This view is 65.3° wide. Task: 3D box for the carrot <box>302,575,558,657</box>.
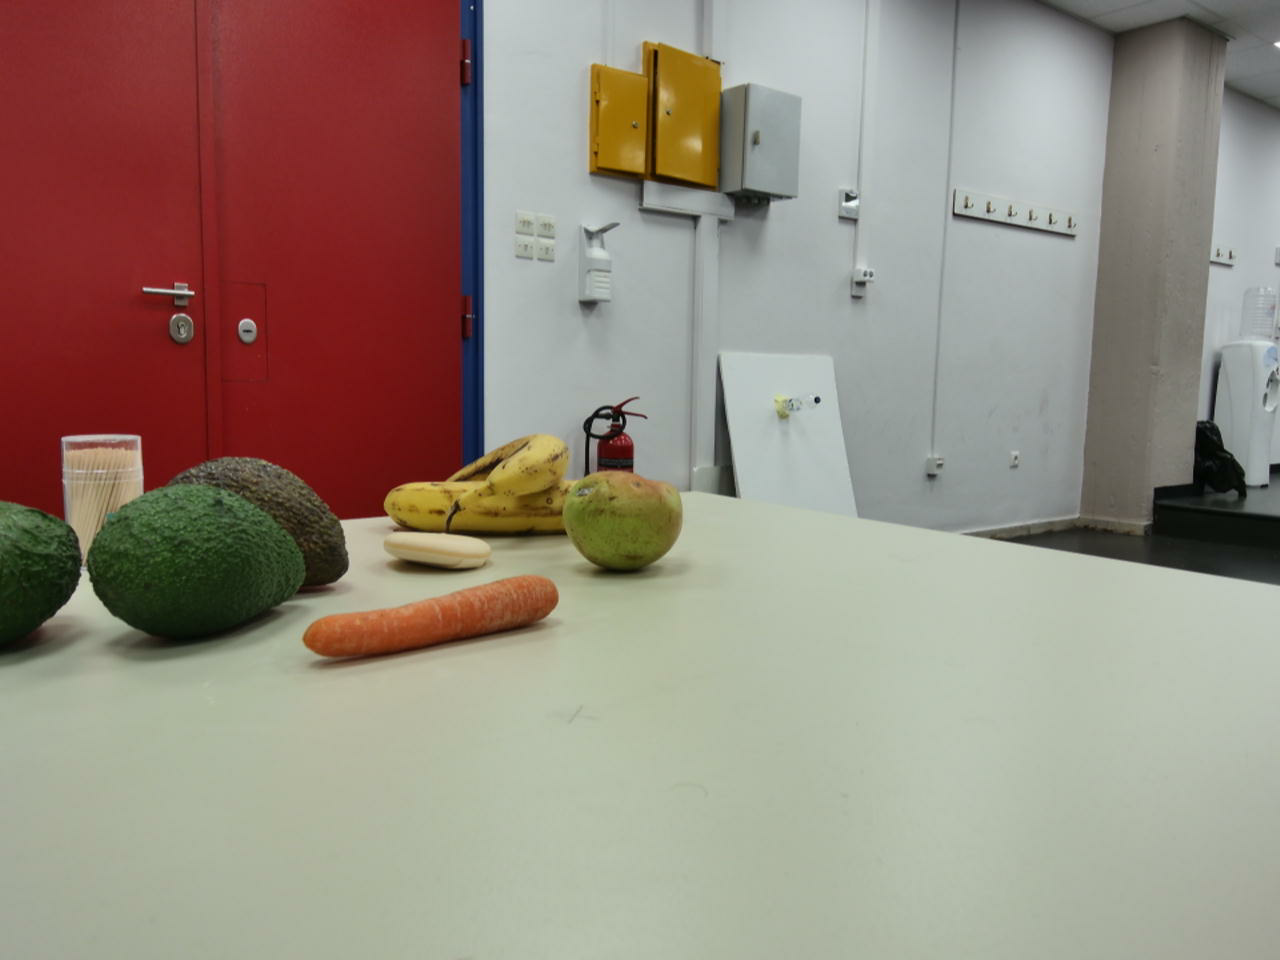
[{"bbox_3d":[-0.087,0.059,0.437,0.122,0.023,0.024,-4,6,-41],"label":"carrot"}]
